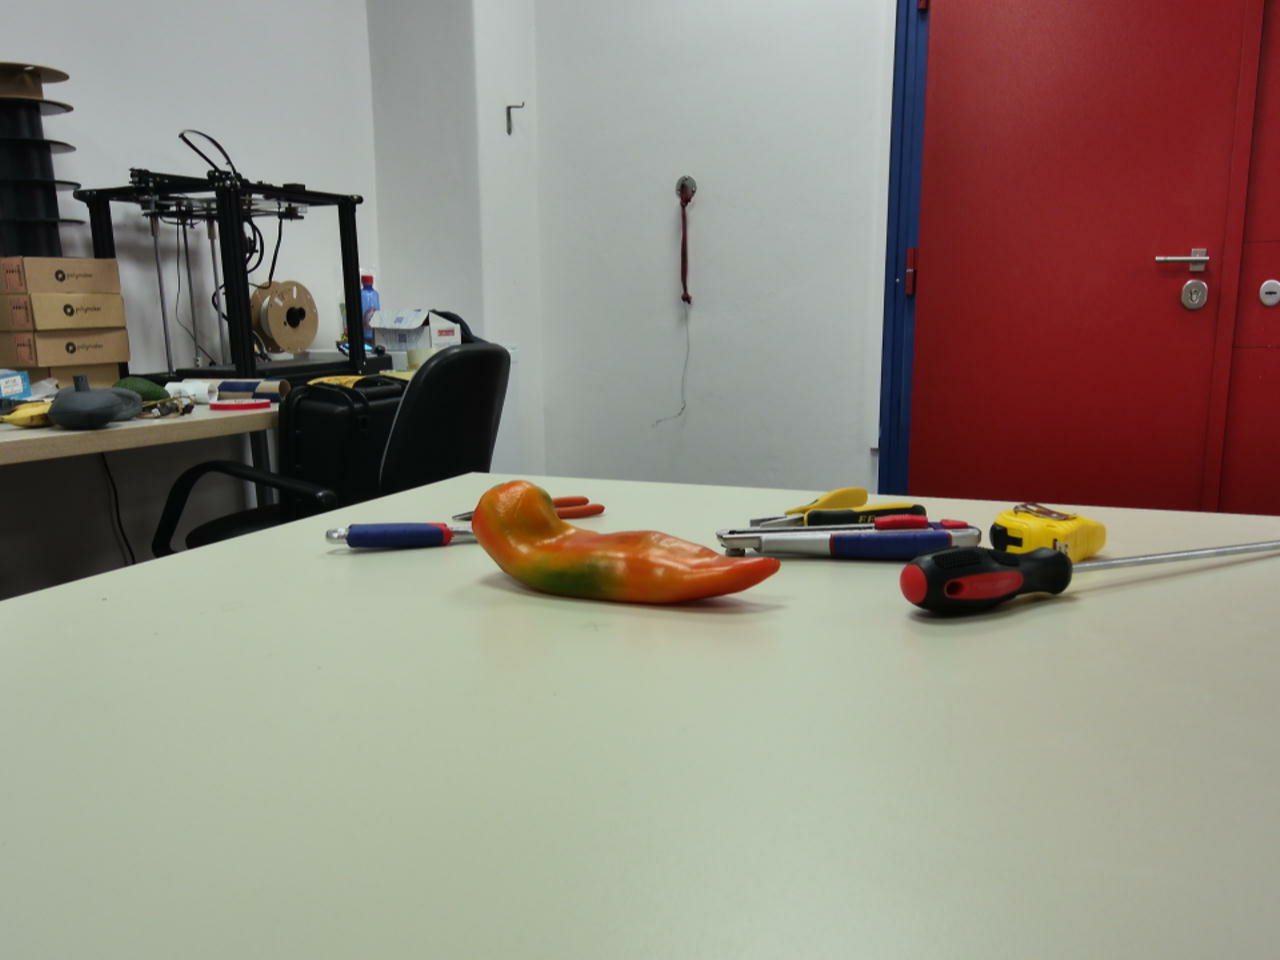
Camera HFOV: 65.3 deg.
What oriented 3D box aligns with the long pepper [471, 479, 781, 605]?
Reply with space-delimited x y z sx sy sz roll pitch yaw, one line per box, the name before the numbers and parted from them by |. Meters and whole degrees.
long pepper | -0.014 0.037 0.599 0.199 0.065 0.066 4 8 28
